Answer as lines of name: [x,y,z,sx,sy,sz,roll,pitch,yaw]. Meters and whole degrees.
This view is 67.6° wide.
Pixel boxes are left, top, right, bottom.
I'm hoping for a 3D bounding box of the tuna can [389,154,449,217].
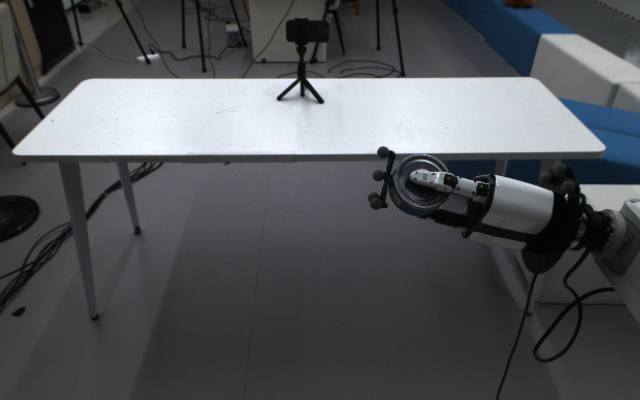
tuna can: [0.146,-0.019,0.694,0.085,0.034,0.085,2,73,-6]
